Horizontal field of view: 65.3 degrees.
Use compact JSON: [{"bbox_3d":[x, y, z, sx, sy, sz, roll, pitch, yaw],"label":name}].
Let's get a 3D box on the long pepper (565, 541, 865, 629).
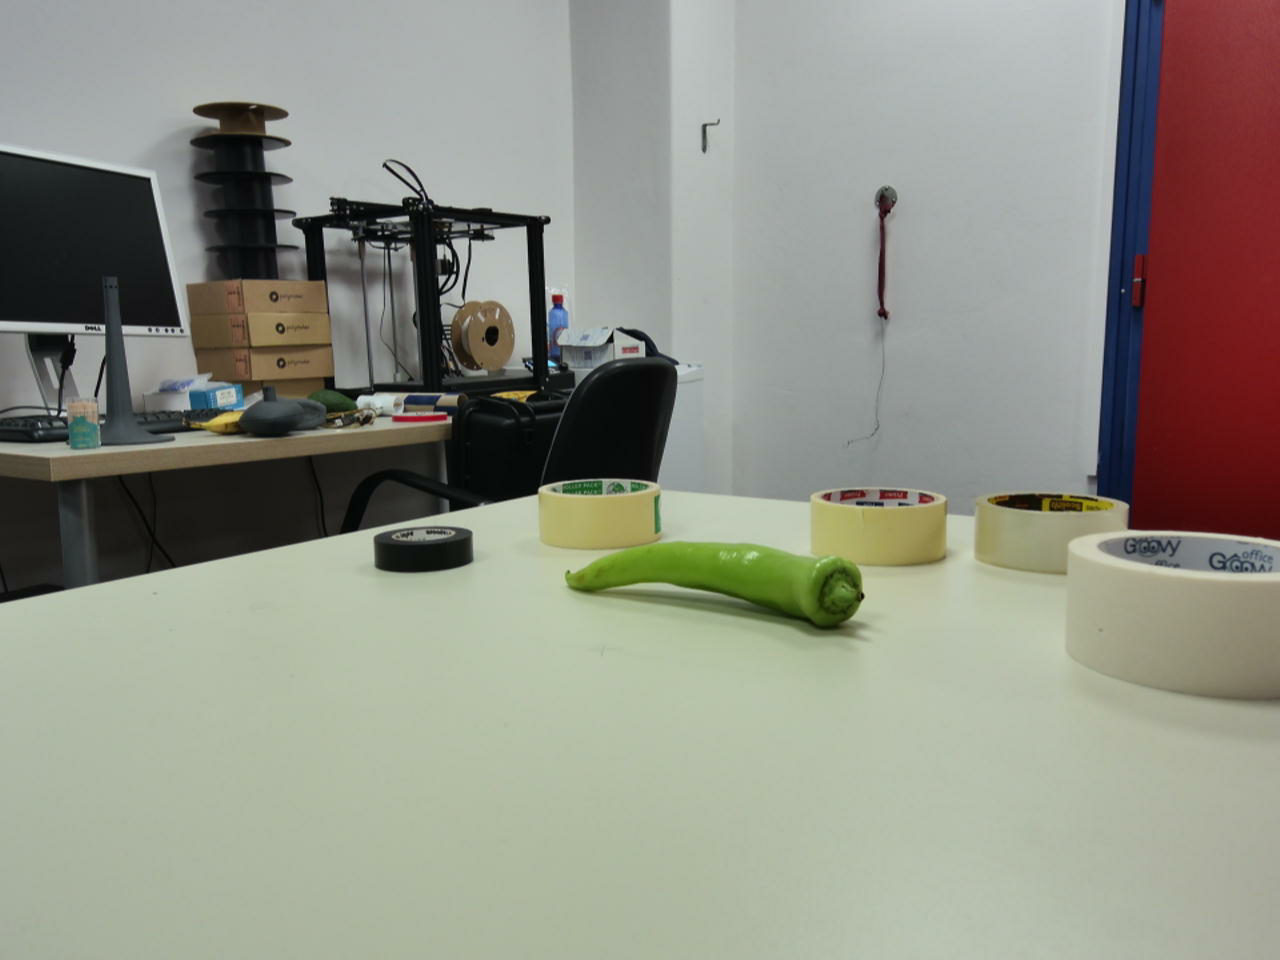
[{"bbox_3d":[0.040,0.052,0.555,0.197,0.038,0.046,5,7,38],"label":"long pepper"}]
